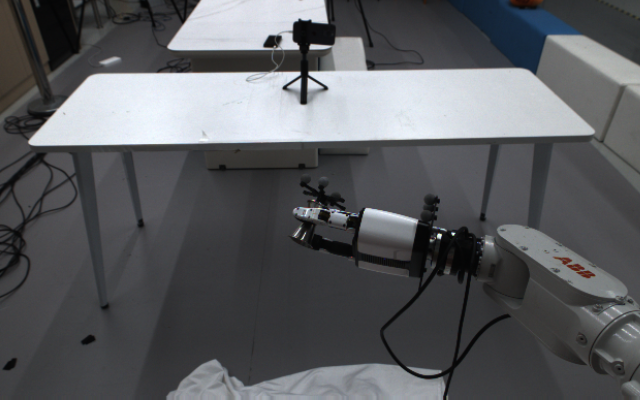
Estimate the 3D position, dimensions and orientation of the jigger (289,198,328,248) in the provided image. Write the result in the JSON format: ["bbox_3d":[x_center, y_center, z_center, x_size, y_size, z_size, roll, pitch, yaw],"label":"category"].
[{"bbox_3d":[-0.019,0.034,0.772,0.043,0.043,0.071,21,73,25],"label":"jigger"}]
